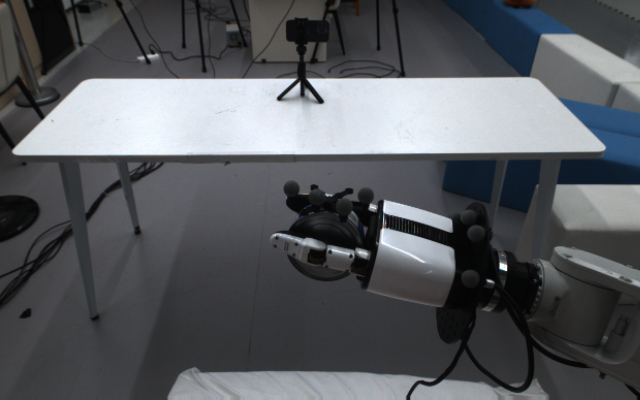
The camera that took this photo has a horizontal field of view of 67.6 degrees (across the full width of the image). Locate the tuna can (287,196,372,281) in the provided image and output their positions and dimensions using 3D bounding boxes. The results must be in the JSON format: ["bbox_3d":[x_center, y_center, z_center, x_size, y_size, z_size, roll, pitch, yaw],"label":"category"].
[{"bbox_3d":[0.010,0.050,0.535,0.085,0.085,0.034,7,22,6],"label":"tuna can"}]
